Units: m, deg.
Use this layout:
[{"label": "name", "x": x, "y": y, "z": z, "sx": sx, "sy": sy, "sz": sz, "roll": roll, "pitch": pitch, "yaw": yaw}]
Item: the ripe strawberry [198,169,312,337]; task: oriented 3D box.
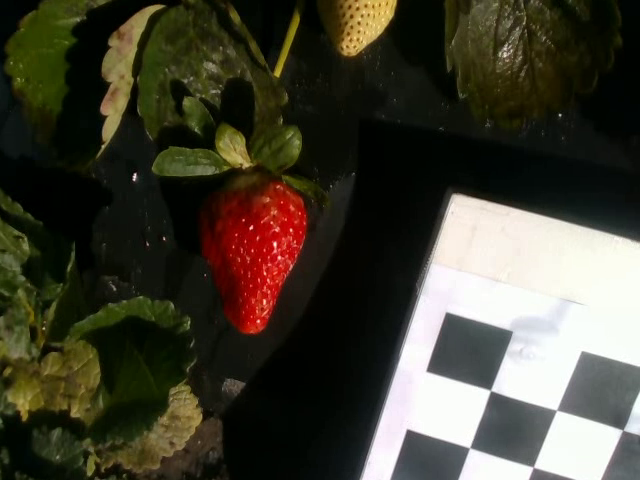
[{"label": "ripe strawberry", "x": -0.025, "y": 0.006, "z": 0.235, "sx": 0.048, "sy": 0.068, "sz": 0.040, "roll": -1, "pitch": 6, "yaw": 11}]
